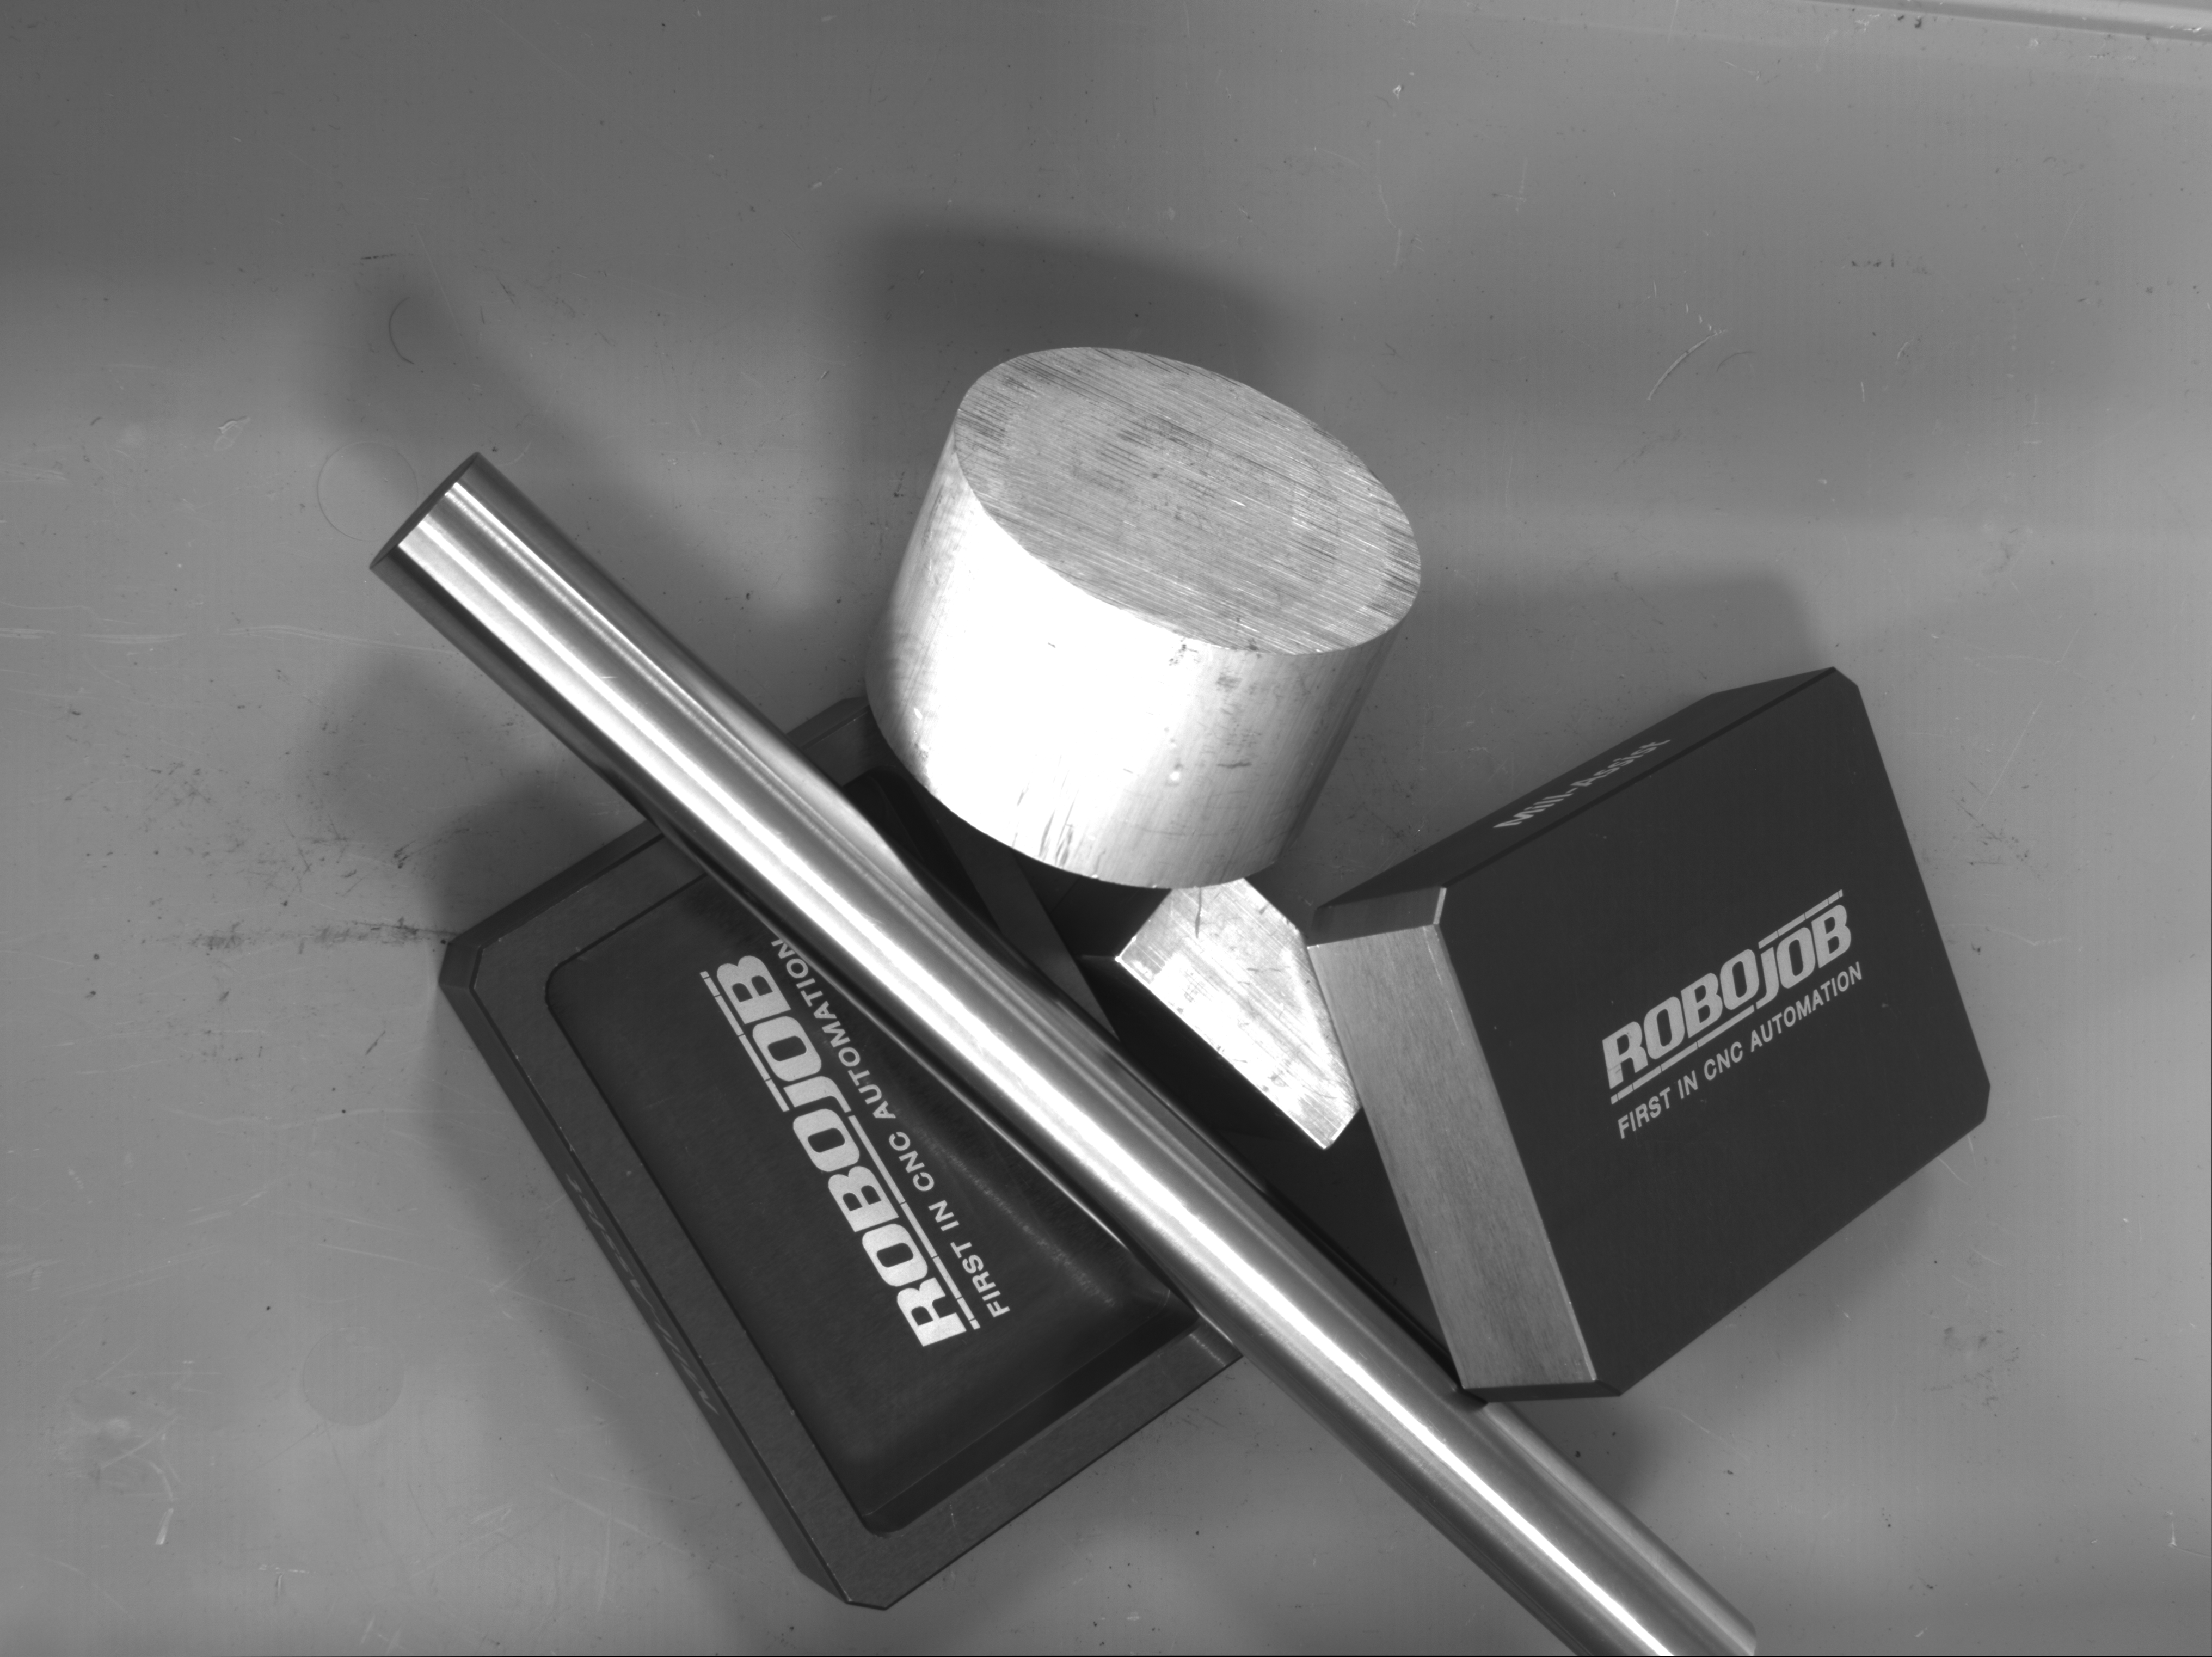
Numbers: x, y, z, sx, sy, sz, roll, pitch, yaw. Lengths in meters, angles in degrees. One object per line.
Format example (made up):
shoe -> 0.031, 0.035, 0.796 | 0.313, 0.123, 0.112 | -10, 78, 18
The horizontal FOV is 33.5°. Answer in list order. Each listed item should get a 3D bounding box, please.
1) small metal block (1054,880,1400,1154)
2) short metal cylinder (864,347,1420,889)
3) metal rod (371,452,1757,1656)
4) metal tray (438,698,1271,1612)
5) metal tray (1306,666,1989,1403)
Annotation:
small metal block -> 0.019, 0.029, 0.635 | 0.050, 0.050, 0.025 | 43, 77, -15
short metal cylinder -> 0.005, -0.036, 0.608 | 0.080, 0.080, 0.050 | 9, 129, -20
metal rod -> 0.000, 0.050, 0.610 | 0.300, 0.025, 0.025 | 43, 77, -15
metal tray -> -0.041, 0.054, 0.624 | 0.090, 0.030, 0.130 | -33, 101, -17
metal tray -> 0.099, 0.034, 0.648 | 0.130, 0.030, 0.090 | -26, 99, -43
